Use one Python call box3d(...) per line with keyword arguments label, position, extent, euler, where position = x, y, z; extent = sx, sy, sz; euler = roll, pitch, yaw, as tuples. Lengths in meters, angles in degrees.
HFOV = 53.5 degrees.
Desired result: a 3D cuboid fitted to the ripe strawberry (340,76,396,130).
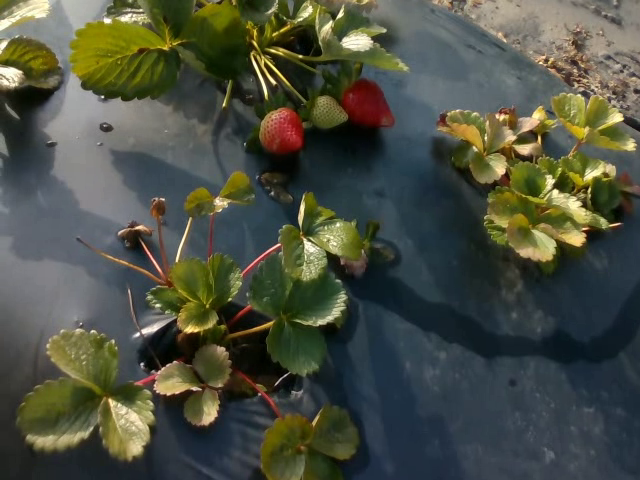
box3d(label="ripe strawberry", position=(0.049, -0.125, 0.594), extent=(0.048, 0.065, 0.050), euler=(-44, -10, 10))
